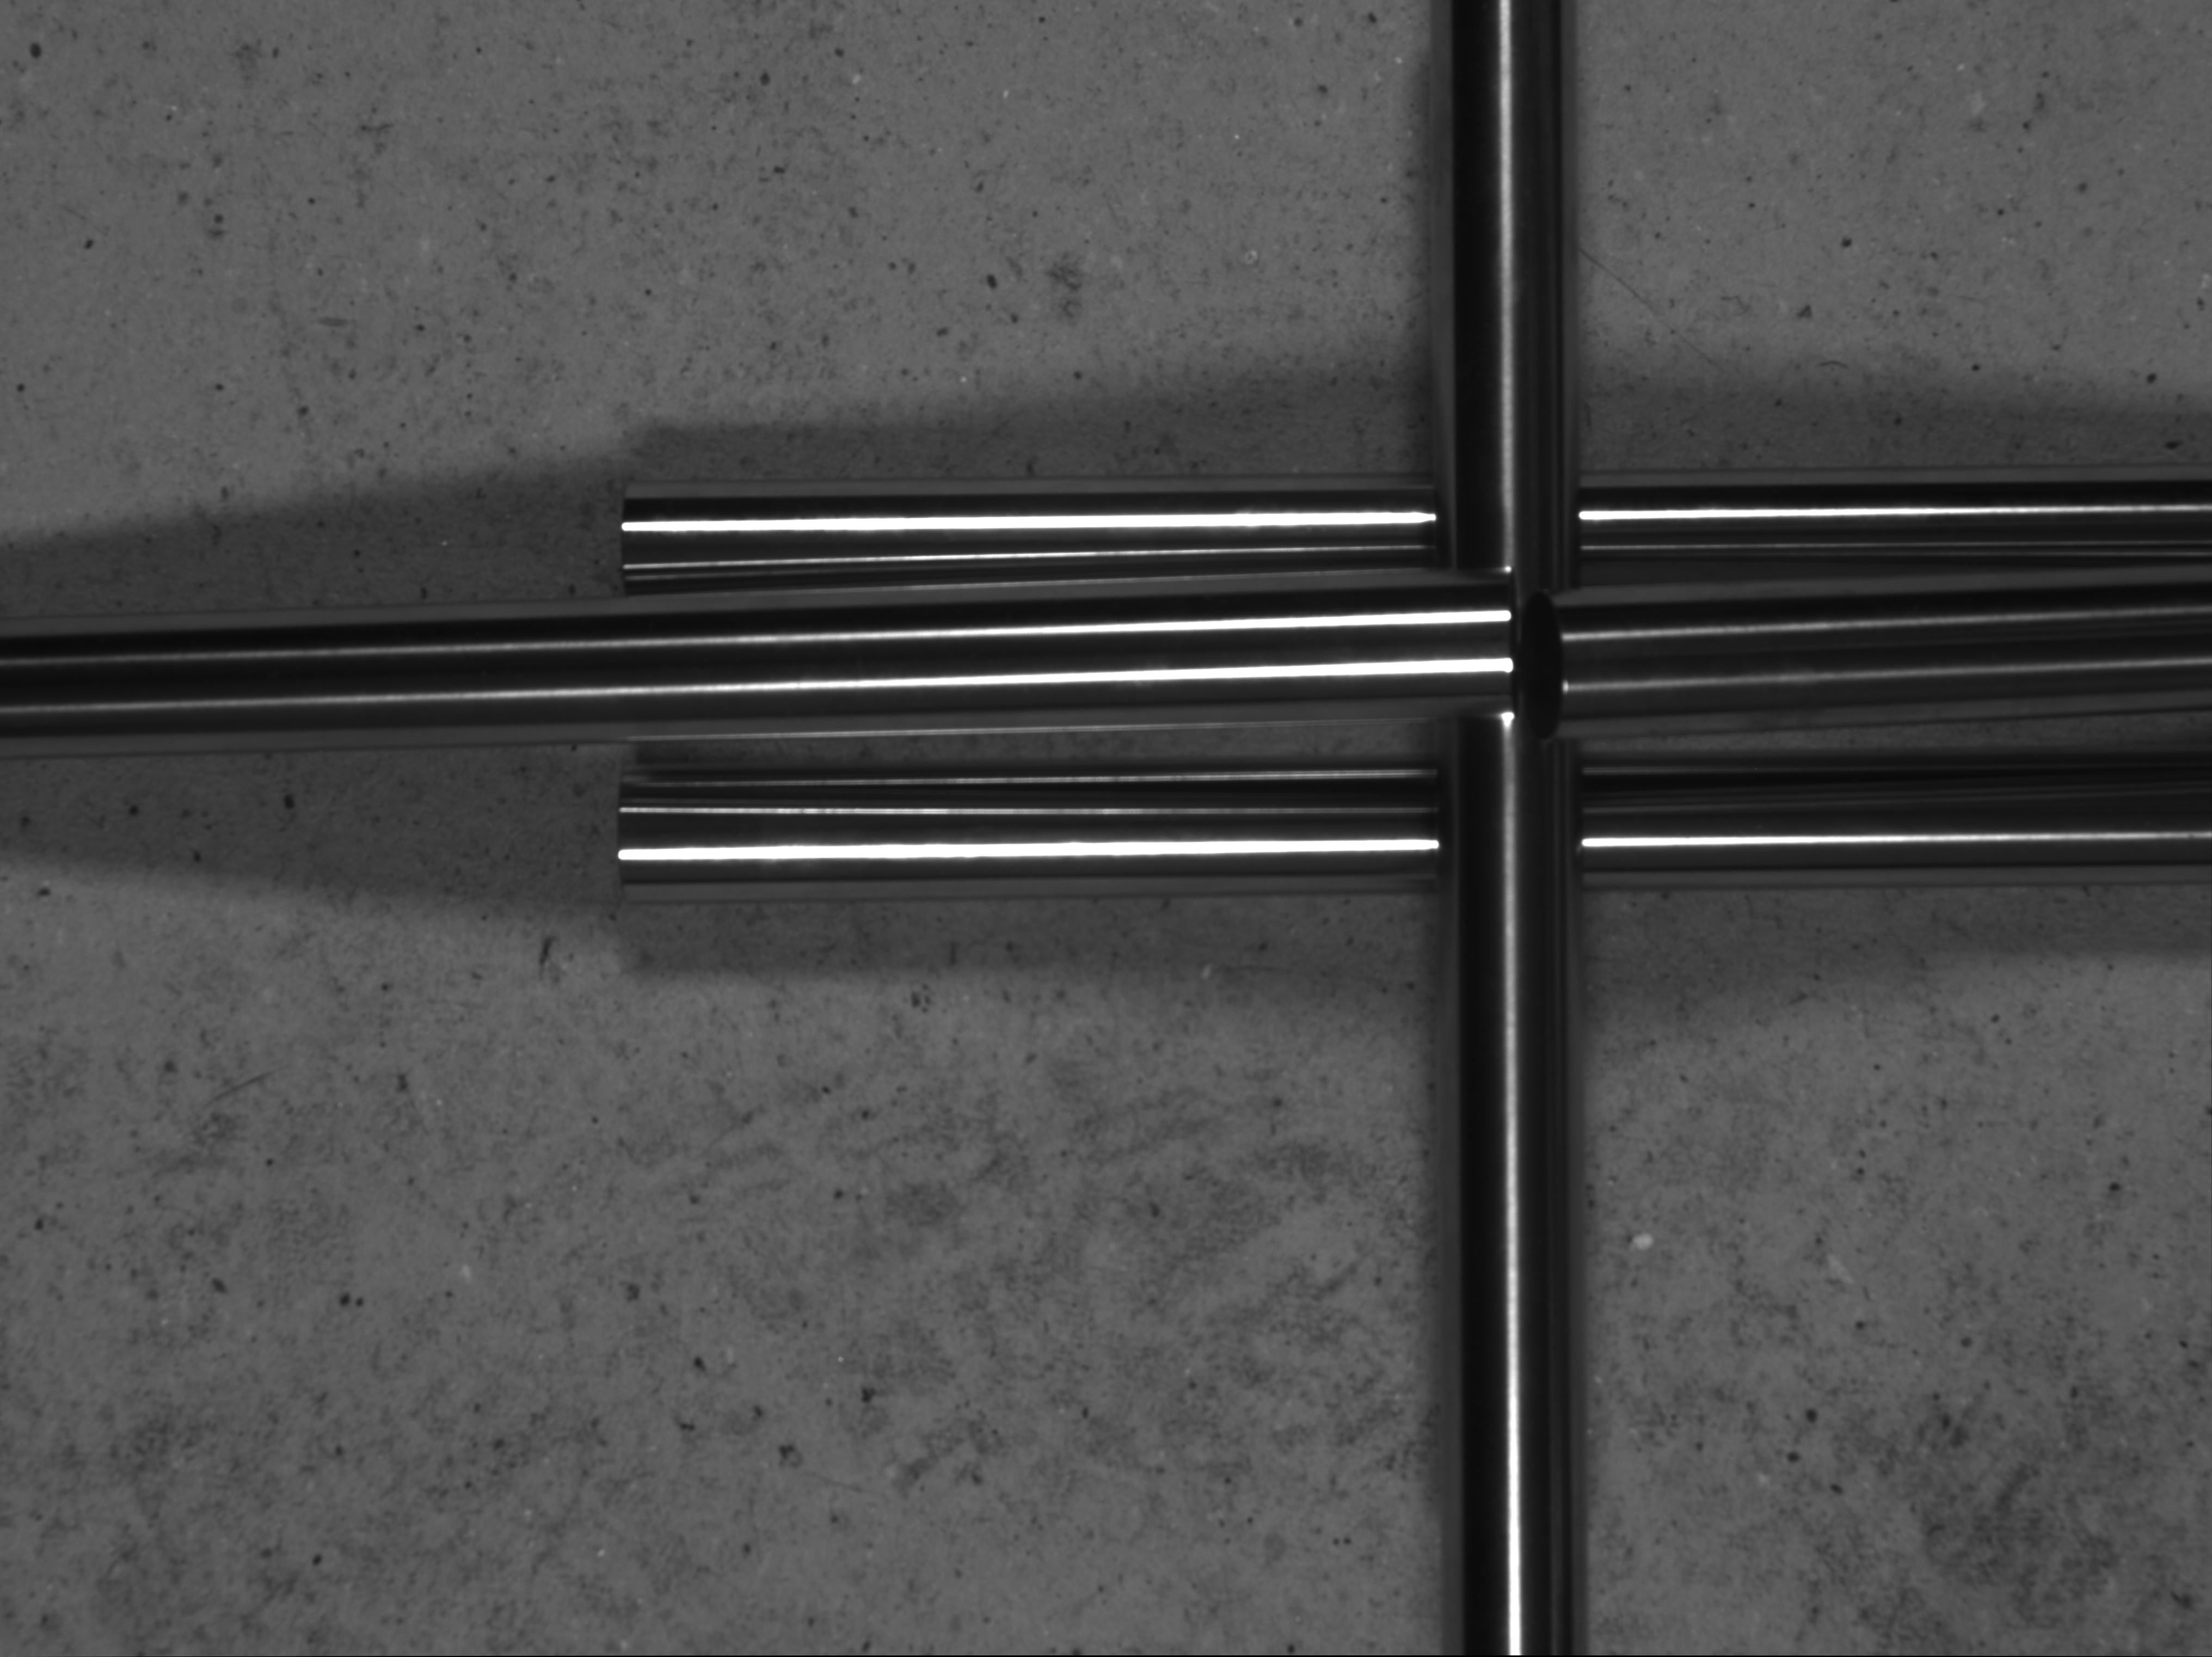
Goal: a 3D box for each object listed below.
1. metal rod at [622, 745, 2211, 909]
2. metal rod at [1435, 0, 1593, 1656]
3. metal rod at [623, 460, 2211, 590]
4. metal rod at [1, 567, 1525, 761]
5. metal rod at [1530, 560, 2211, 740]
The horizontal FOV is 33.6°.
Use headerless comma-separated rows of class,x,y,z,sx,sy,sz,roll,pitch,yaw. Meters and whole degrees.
metal rod,0.066,0.000,0.645,0.300,0.025,0.025,-1,90,-1
metal rod,0.069,-0.009,0.621,0.025,0.025,0.300,0,90,0
metal rod,0.067,-0.051,0.645,0.300,0.025,0.025,-1,90,-1
metal rod,-0.080,-0.027,0.619,0.300,0.025,0.025,-1,90,9
metal rod,0.218,-0.034,0.622,0.300,0.025,0.025,-3,90,-11
